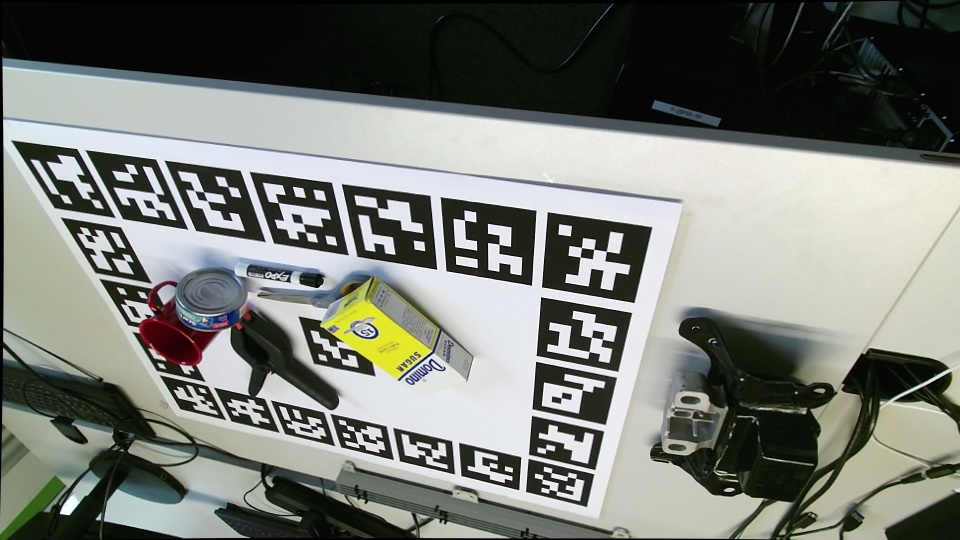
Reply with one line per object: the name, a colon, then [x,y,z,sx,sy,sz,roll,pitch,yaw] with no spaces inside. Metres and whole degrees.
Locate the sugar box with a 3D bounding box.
sugar box: [-0.105,0.095,0.687,0.093,0.045,0.177,-25,121,33]

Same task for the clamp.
clamp: [-0.315,0.140,0.820,0.166,0.036,0.203,1,126,19]

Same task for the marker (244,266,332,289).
marker: [-0.248,0.010,0.694,0.121,0.019,0.019,6,127,14]

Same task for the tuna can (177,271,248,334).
tuna can: [-0.355,0.041,0.711,0.086,0.085,0.034,22,130,1]

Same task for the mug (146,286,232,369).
mug: [-0.411,0.072,0.760,0.093,0.081,0.117,-15,124,28]

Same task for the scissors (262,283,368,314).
scissors: [-0.204,0.051,0.708,0.203,0.016,0.088,1,130,20]
